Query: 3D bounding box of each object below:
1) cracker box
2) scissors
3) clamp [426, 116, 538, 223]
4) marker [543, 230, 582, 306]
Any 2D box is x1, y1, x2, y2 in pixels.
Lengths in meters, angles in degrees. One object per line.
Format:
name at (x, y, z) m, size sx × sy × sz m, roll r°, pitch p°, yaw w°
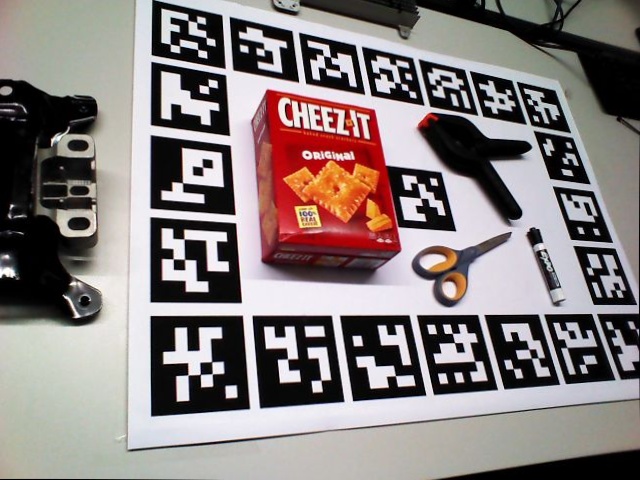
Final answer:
cracker box at (0.026, -0.068, 0.660) m, size 0.164 × 0.072 × 0.212 m, roll 4°, pitch 64°, yaw -23°
scissors at (0.239, 0.029, 0.740) m, size 0.201 × 0.016 × 0.087 m, roll -28°, pitch 78°, yaw -35°
clamp at (0.261, -0.137, 0.838) m, size 0.203 × 0.037 × 0.164 m, roll 31°, pitch 56°, yaw -9°
marker at (0.371, 0.040, 0.793) m, size 0.019 × 0.020 × 0.120 m, roll 0°, pitch 65°, yaw -25°
